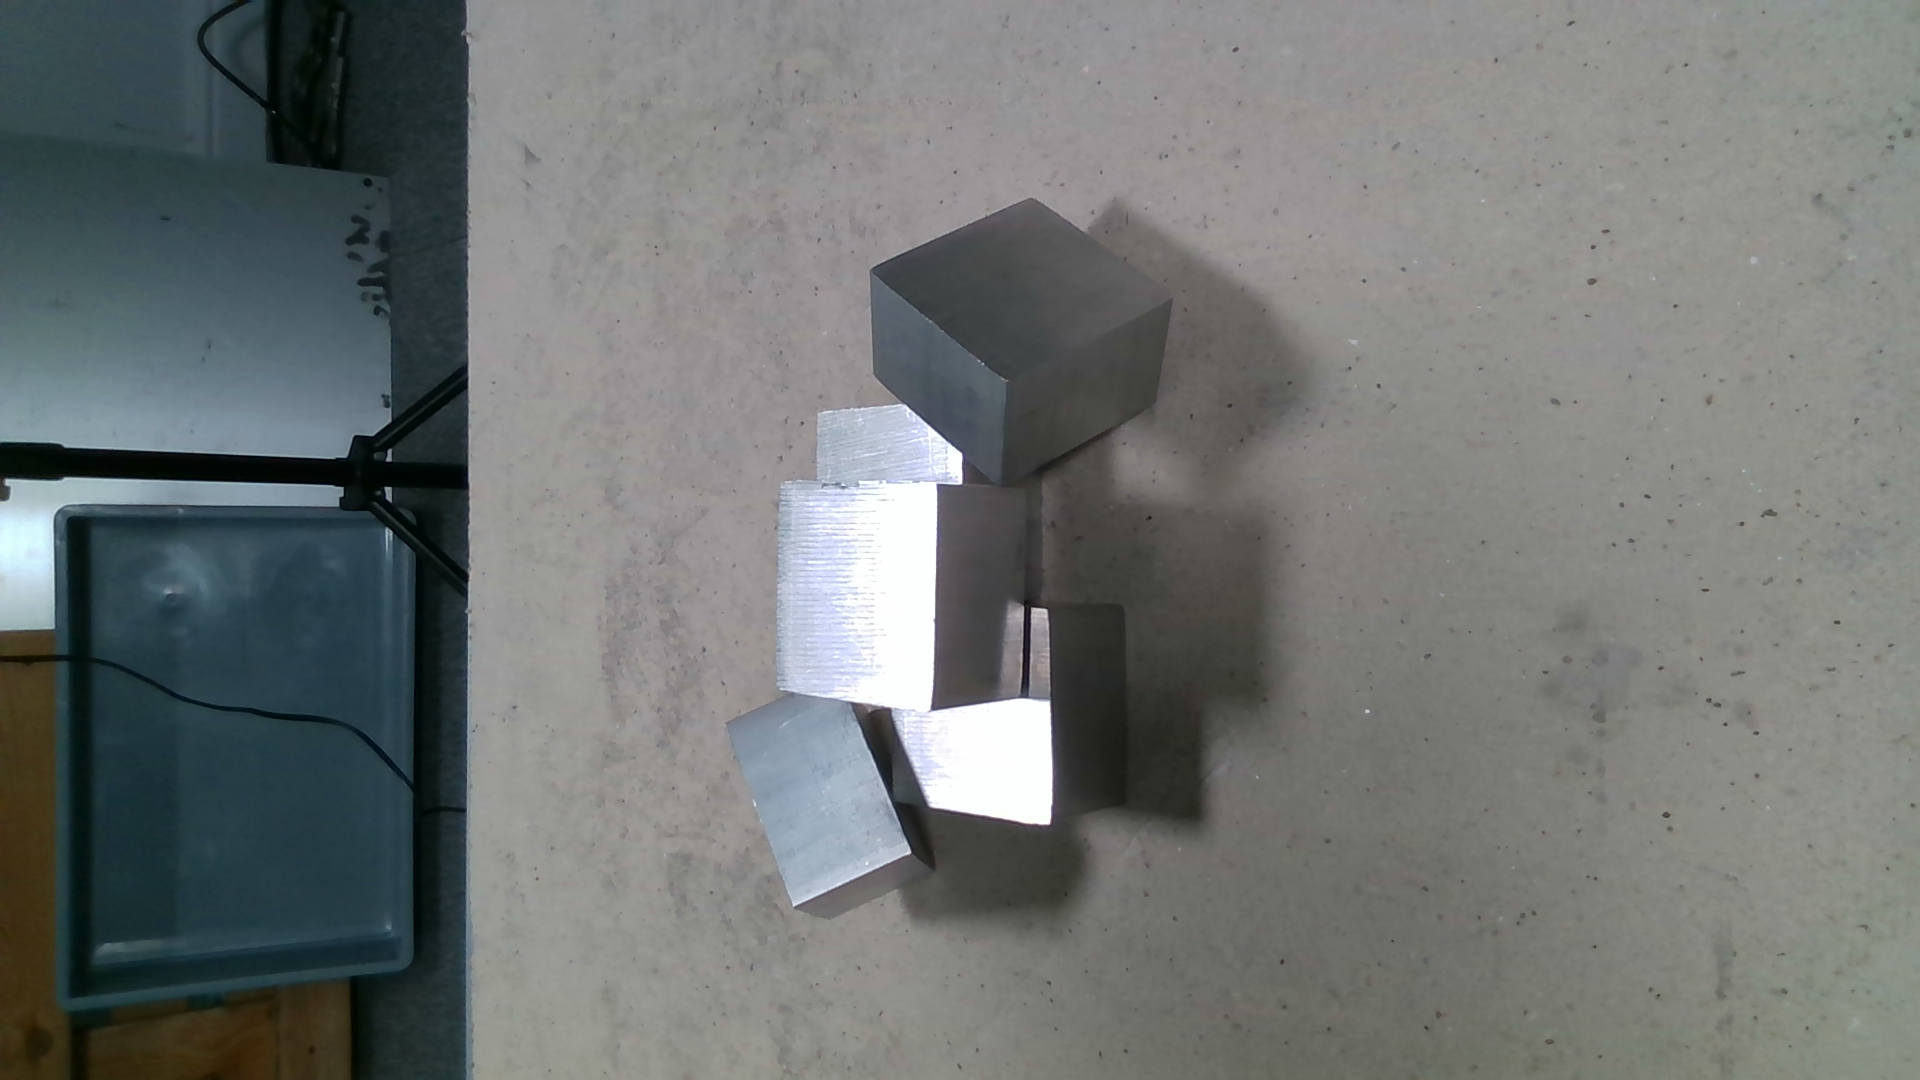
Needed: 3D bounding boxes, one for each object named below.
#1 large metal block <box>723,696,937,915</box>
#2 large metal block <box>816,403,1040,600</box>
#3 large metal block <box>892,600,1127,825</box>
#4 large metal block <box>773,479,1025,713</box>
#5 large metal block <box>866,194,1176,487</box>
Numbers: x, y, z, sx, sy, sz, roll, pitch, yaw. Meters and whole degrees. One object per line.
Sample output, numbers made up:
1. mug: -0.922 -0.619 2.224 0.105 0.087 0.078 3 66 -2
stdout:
1. large metal block: -0.053 0.110 0.584 0.050 0.080 0.080 -24 71 -2
2. large metal block: -0.014 -0.015 0.575 0.080 0.050 0.080 0 91 40
3. large metal block: 0.019 0.065 0.551 0.080 0.050 0.080 0 91 40
4. large metal block: -0.024 0.018 0.518 0.080 0.050 0.080 3 92 40
5. large metal block: 0.021 -0.077 0.518 0.080 0.080 0.050 43 149 32
